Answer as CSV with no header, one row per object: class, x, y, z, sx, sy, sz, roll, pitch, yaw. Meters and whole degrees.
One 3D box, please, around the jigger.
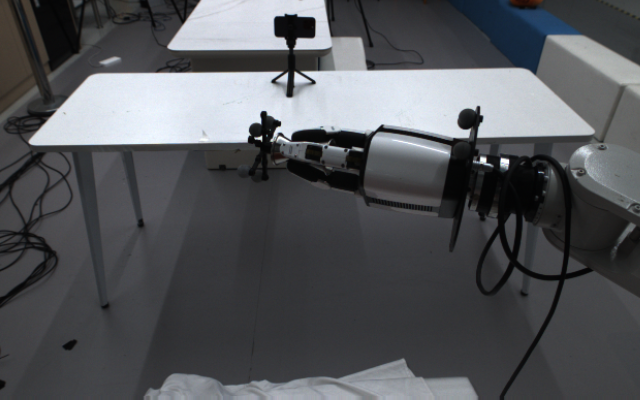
jigger,-0.014,-0.059,0.573,0.071,0.043,0.043,10,35,16
